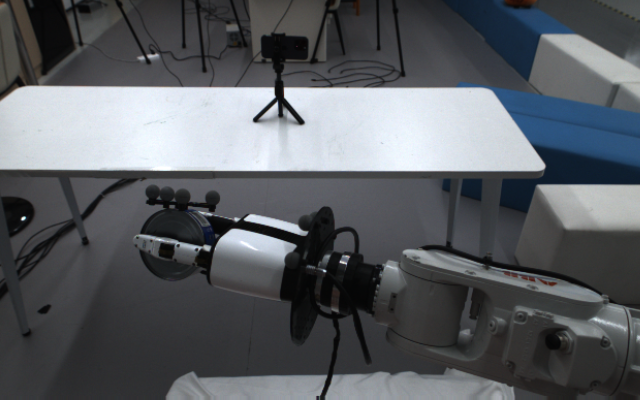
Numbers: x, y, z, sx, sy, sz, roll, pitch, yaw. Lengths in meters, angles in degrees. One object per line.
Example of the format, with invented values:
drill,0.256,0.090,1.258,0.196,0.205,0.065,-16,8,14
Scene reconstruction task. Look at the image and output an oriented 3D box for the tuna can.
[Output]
tuna can,-0.169,0.052,0.581,0.085,0.085,0.034,12,3,13
